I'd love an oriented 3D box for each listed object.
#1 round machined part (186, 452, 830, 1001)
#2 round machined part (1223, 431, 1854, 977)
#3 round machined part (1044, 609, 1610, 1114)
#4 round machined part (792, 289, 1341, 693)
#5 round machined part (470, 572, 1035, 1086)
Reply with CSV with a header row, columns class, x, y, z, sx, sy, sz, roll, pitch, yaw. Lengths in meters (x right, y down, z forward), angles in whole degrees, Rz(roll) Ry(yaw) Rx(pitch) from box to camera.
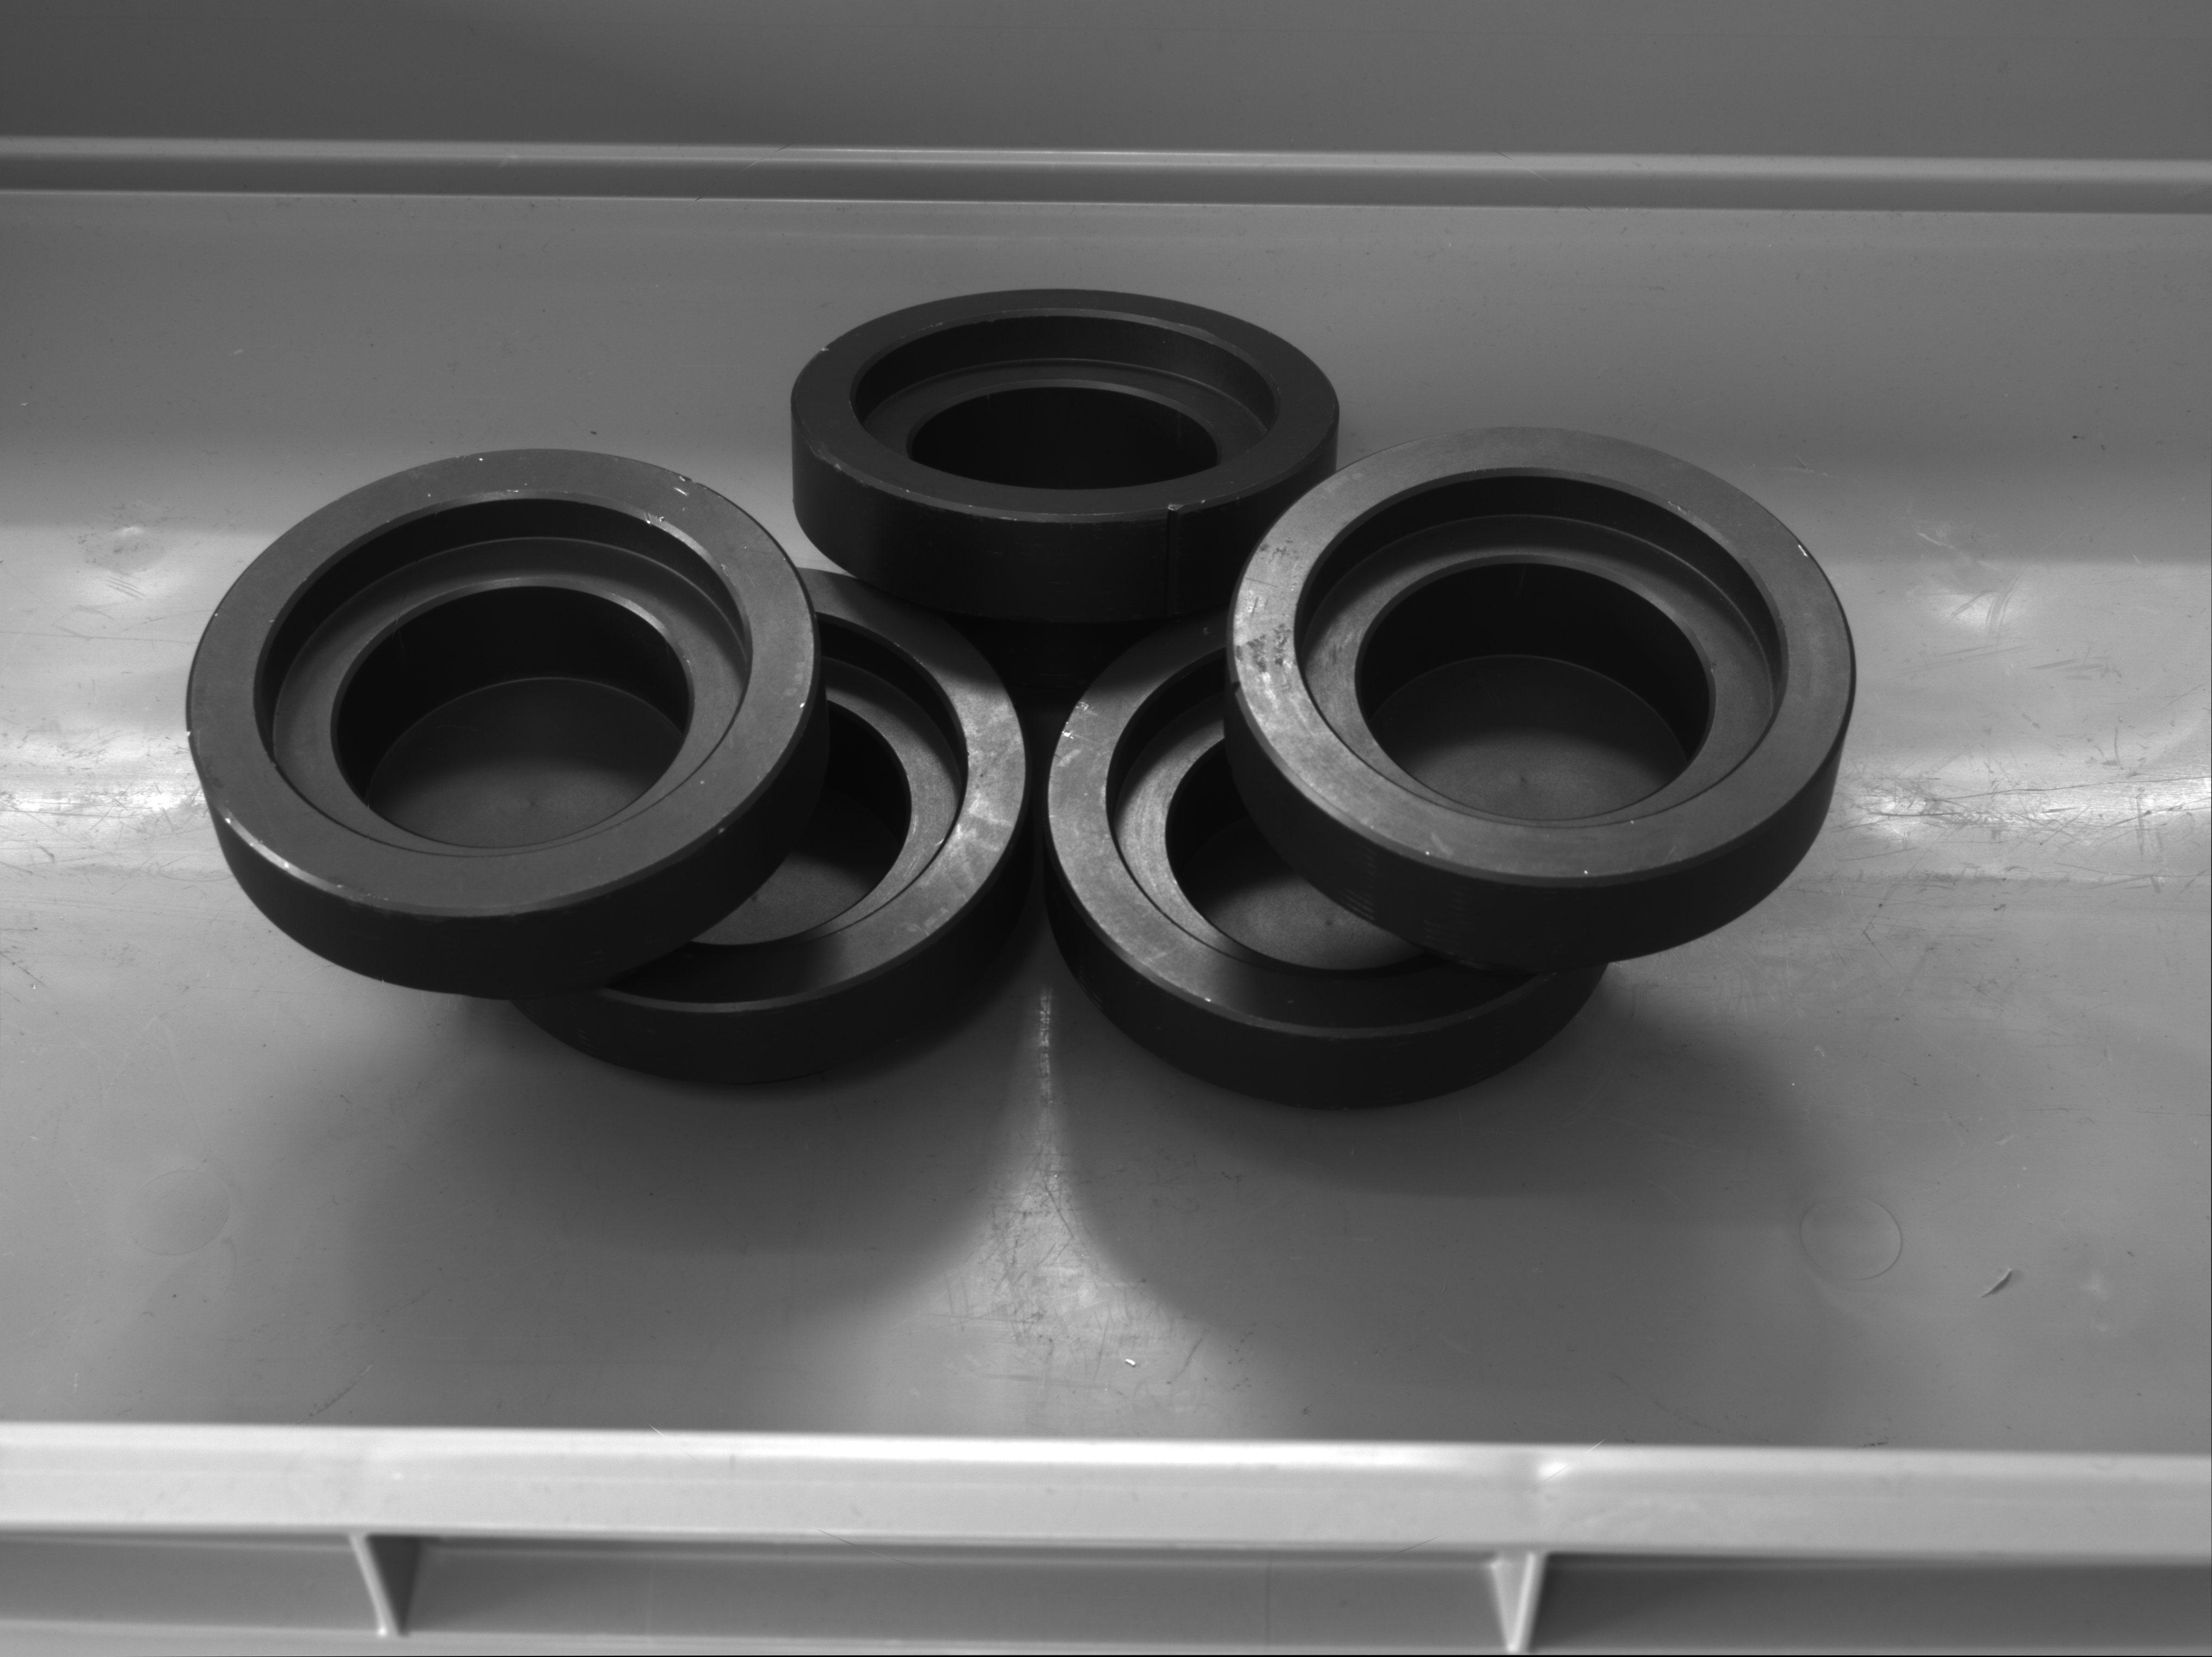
class,x,y,z,sx,sy,sz,roll,pitch,yaw
round machined part,-0.093,-0.011,0.585,0.098,0.042,0.098,0,50,0
round machined part,0.068,-0.015,0.588,0.098,0.042,0.098,0,50,0
round machined part,0.039,0.009,0.622,0.098,0.042,0.098,0,50,0
round machined part,-0.007,-0.059,0.666,0.098,0.042,0.098,1,32,0
round machined part,-0.061,0.005,0.625,0.098,0.042,0.098,0,50,0
